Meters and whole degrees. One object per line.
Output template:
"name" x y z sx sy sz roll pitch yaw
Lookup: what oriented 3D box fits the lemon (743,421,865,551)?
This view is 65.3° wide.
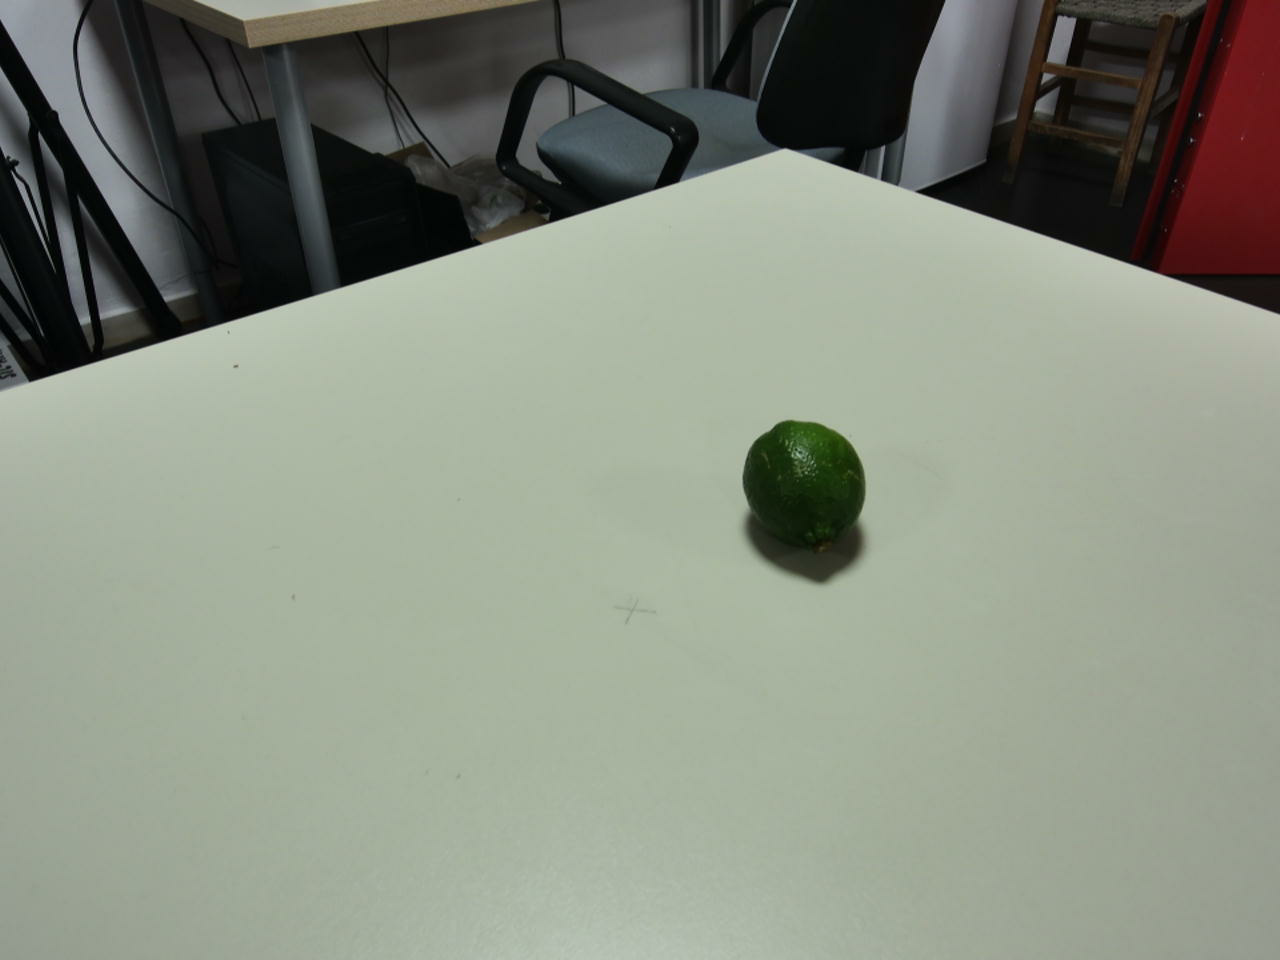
"lemon" 0.072 0.001 0.437 0.054 0.051 0.057 -28 43 -33
